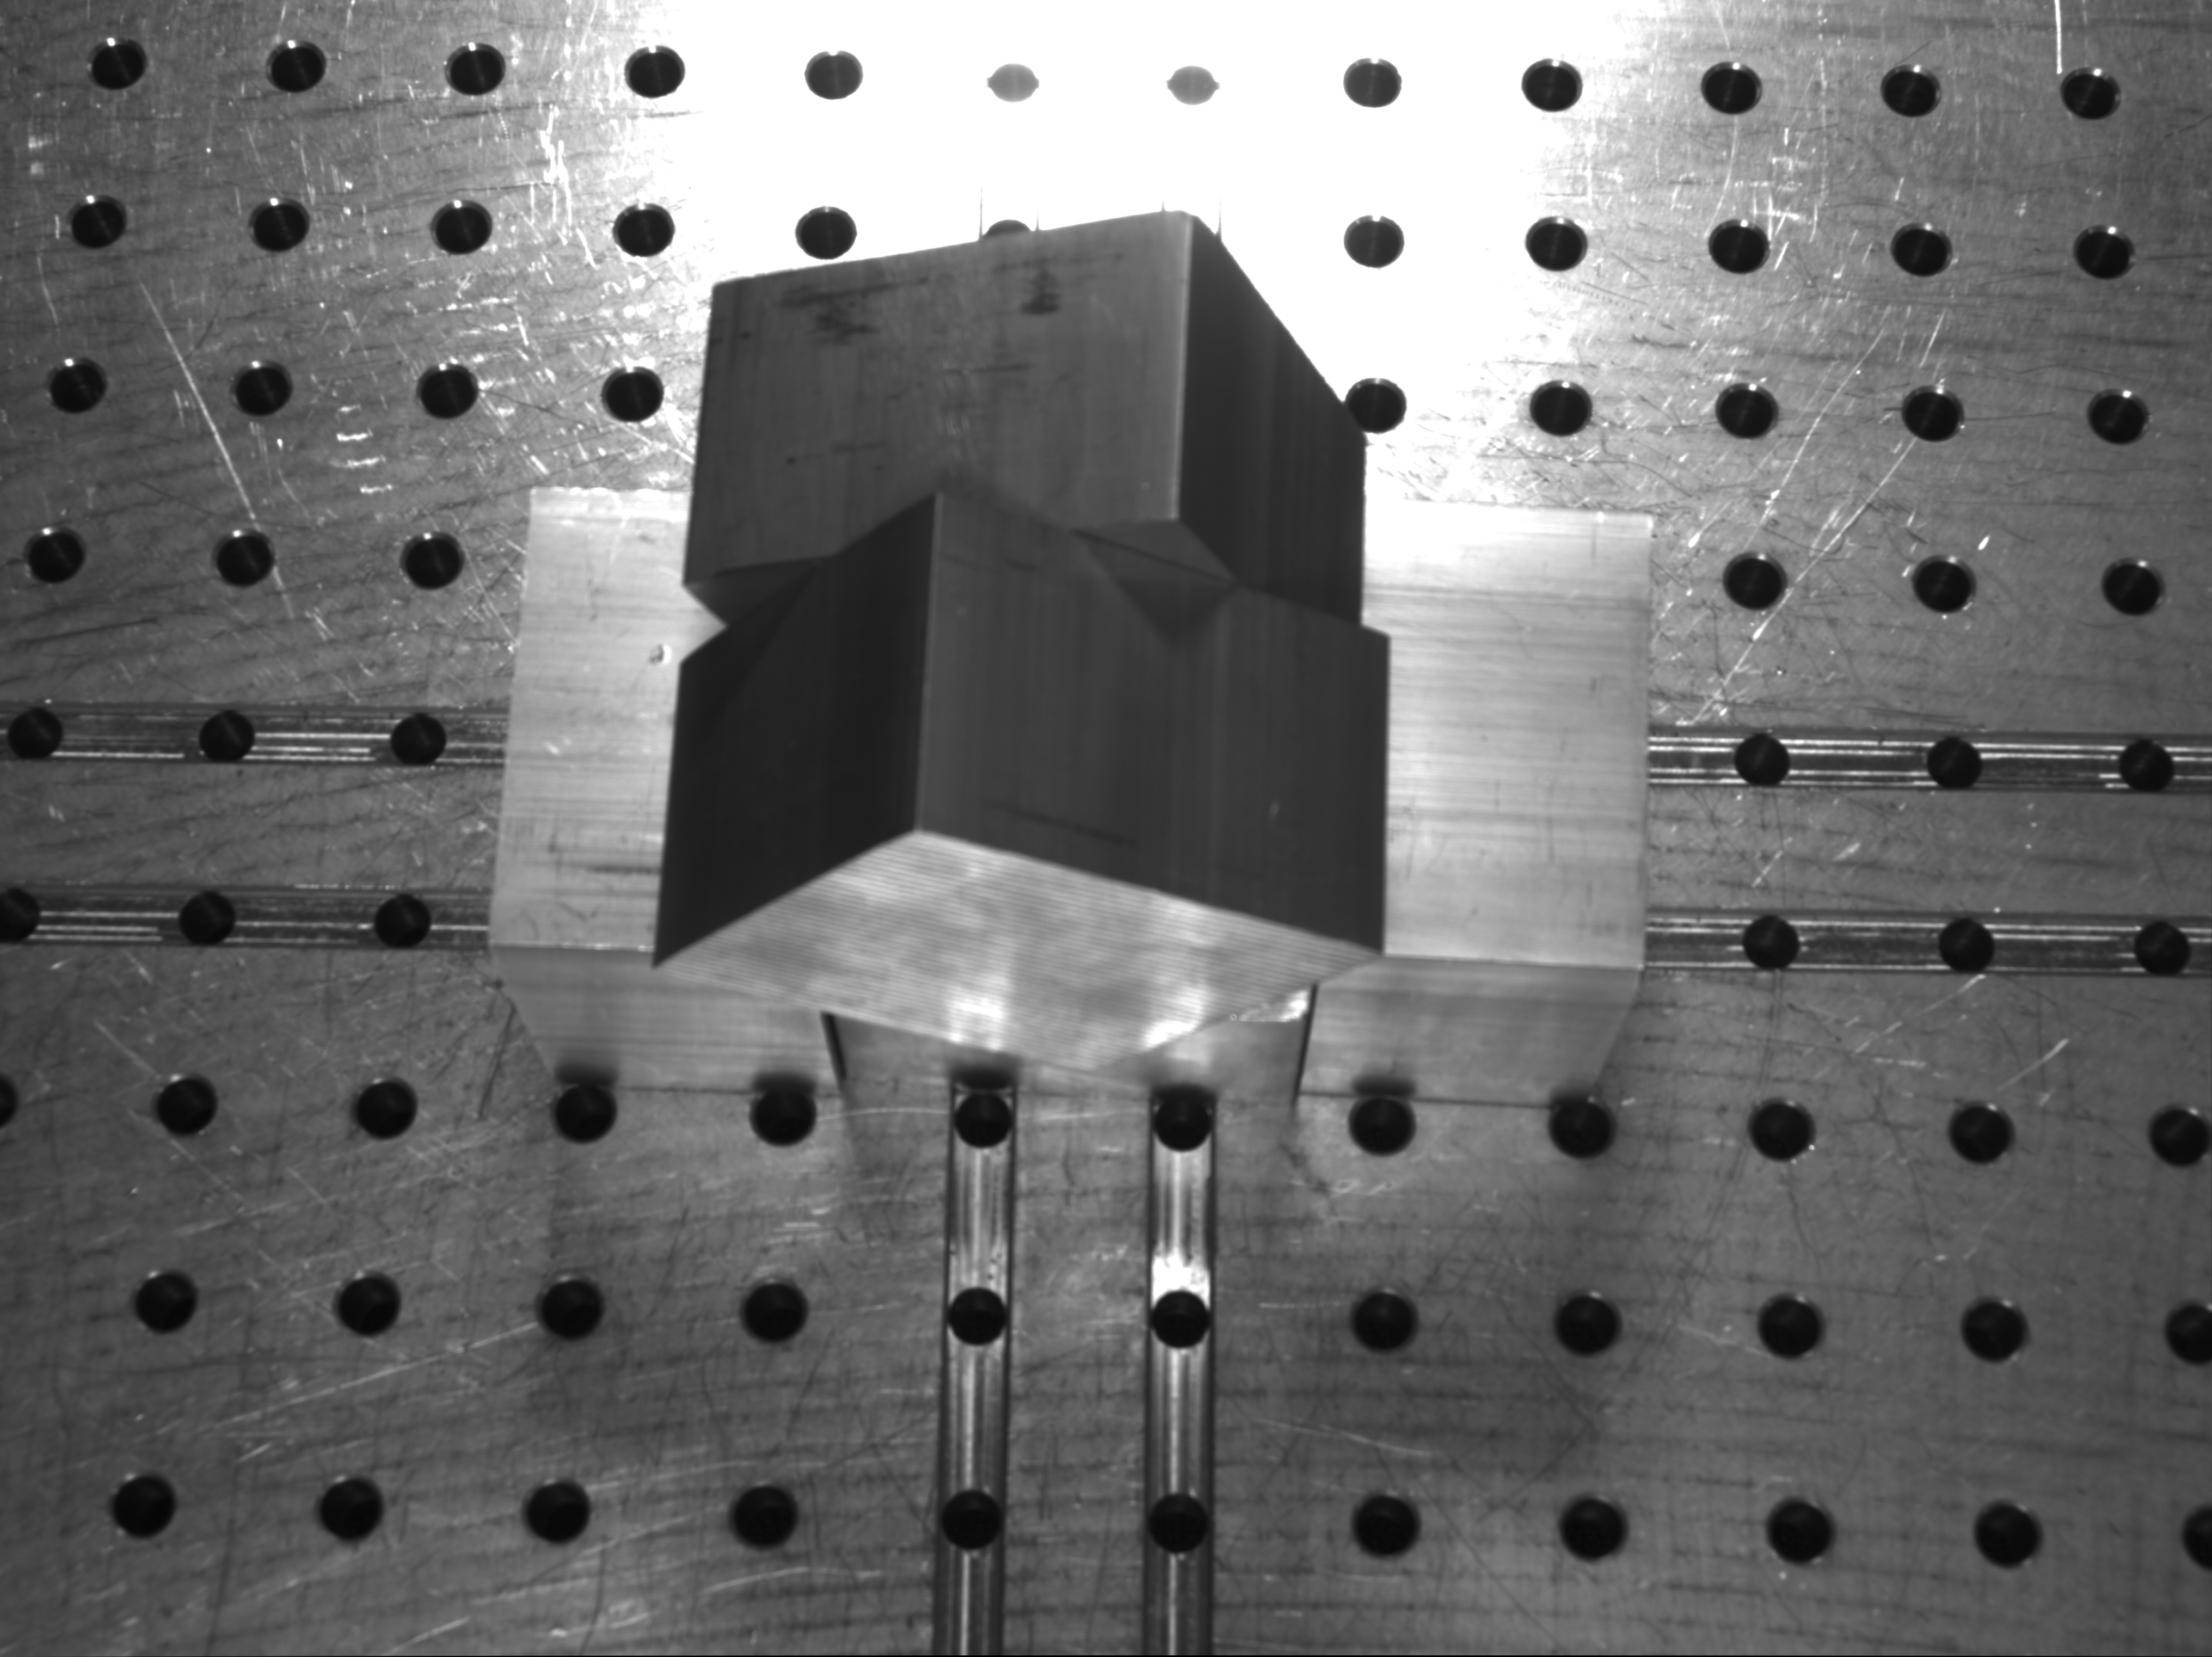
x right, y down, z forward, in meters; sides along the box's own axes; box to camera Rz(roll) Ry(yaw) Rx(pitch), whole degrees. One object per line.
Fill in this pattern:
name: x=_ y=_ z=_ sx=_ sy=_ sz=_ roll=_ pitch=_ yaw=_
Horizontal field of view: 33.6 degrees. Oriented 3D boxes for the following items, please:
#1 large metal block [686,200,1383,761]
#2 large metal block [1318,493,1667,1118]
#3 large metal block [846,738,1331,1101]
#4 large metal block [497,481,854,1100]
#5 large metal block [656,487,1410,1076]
large metal block: x=-0.008 y=-0.050 z=0.568 sx=0.080 sy=0.080 sz=0.050 roll=-6 pitch=68 yaw=22
large metal block: x=0.063 y=-0.002 z=0.619 sx=0.050 sy=0.080 sz=0.080 roll=4 pitch=70 yaw=2
large metal block: x=-0.001 y=0.000 z=0.632 sx=0.080 sy=0.050 sz=0.080 roll=3 pitch=70 yaw=1
large metal block: x=-0.068 y=-0.004 z=0.620 sx=0.050 sy=0.080 sz=0.080 roll=2 pitch=70 yaw=1
large metal block: x=-0.011 y=-0.004 z=0.548 sx=0.080 sy=0.080 sz=0.050 roll=15 pitch=66 yaw=-30
